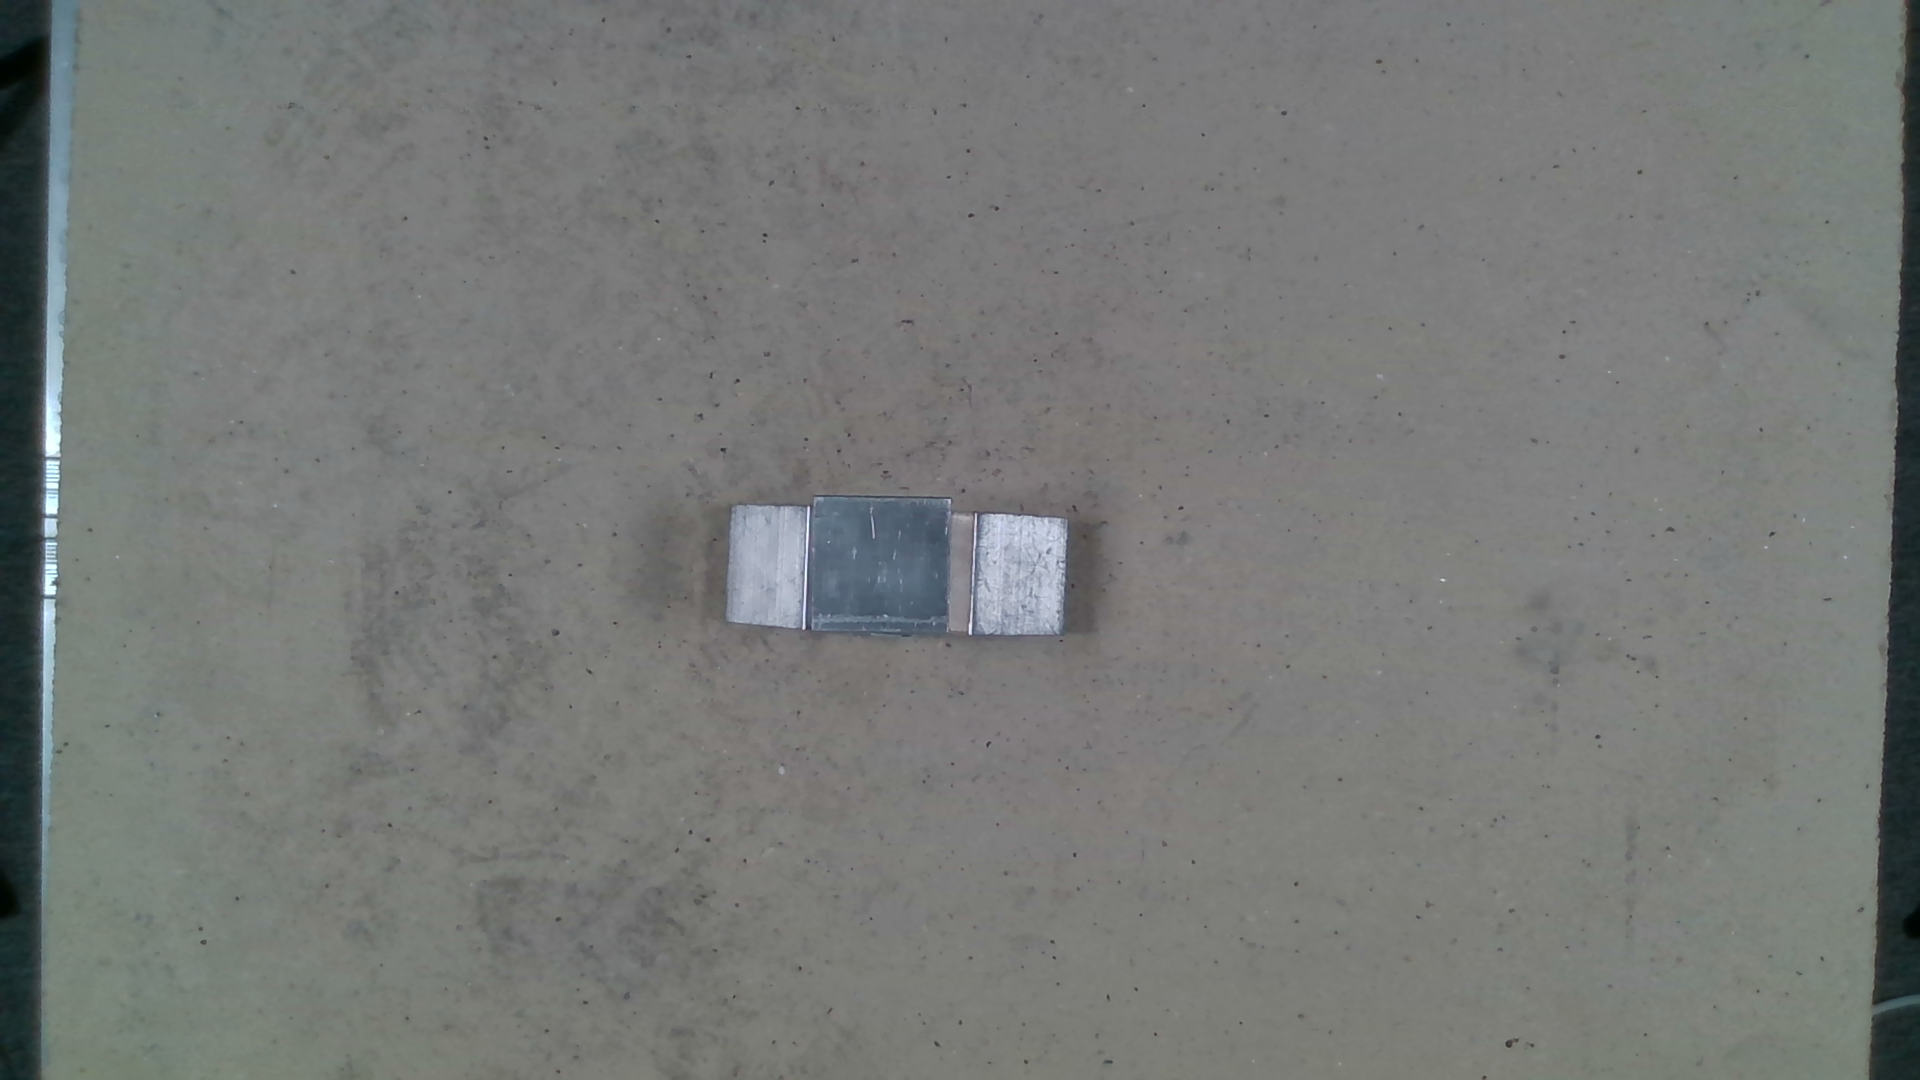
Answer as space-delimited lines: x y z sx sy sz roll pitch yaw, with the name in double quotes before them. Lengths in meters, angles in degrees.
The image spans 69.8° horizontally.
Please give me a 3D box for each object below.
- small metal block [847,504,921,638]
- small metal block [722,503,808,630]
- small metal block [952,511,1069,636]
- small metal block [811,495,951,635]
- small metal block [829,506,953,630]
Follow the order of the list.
"small metal block" -0.030 0.012 0.549 0.025 0.050 0.050 2 90 0
"small metal block" -0.072 0.010 0.575 0.050 0.025 0.050 2 90 40
"small metal block" 0.017 0.014 0.575 0.050 0.025 0.050 2 90 -36
"small metal block" -0.029 0.009 0.512 0.050 0.025 0.050 1 90 0
"small metal block" -0.029 0.012 0.588 0.050 0.025 0.050 2 90 0
